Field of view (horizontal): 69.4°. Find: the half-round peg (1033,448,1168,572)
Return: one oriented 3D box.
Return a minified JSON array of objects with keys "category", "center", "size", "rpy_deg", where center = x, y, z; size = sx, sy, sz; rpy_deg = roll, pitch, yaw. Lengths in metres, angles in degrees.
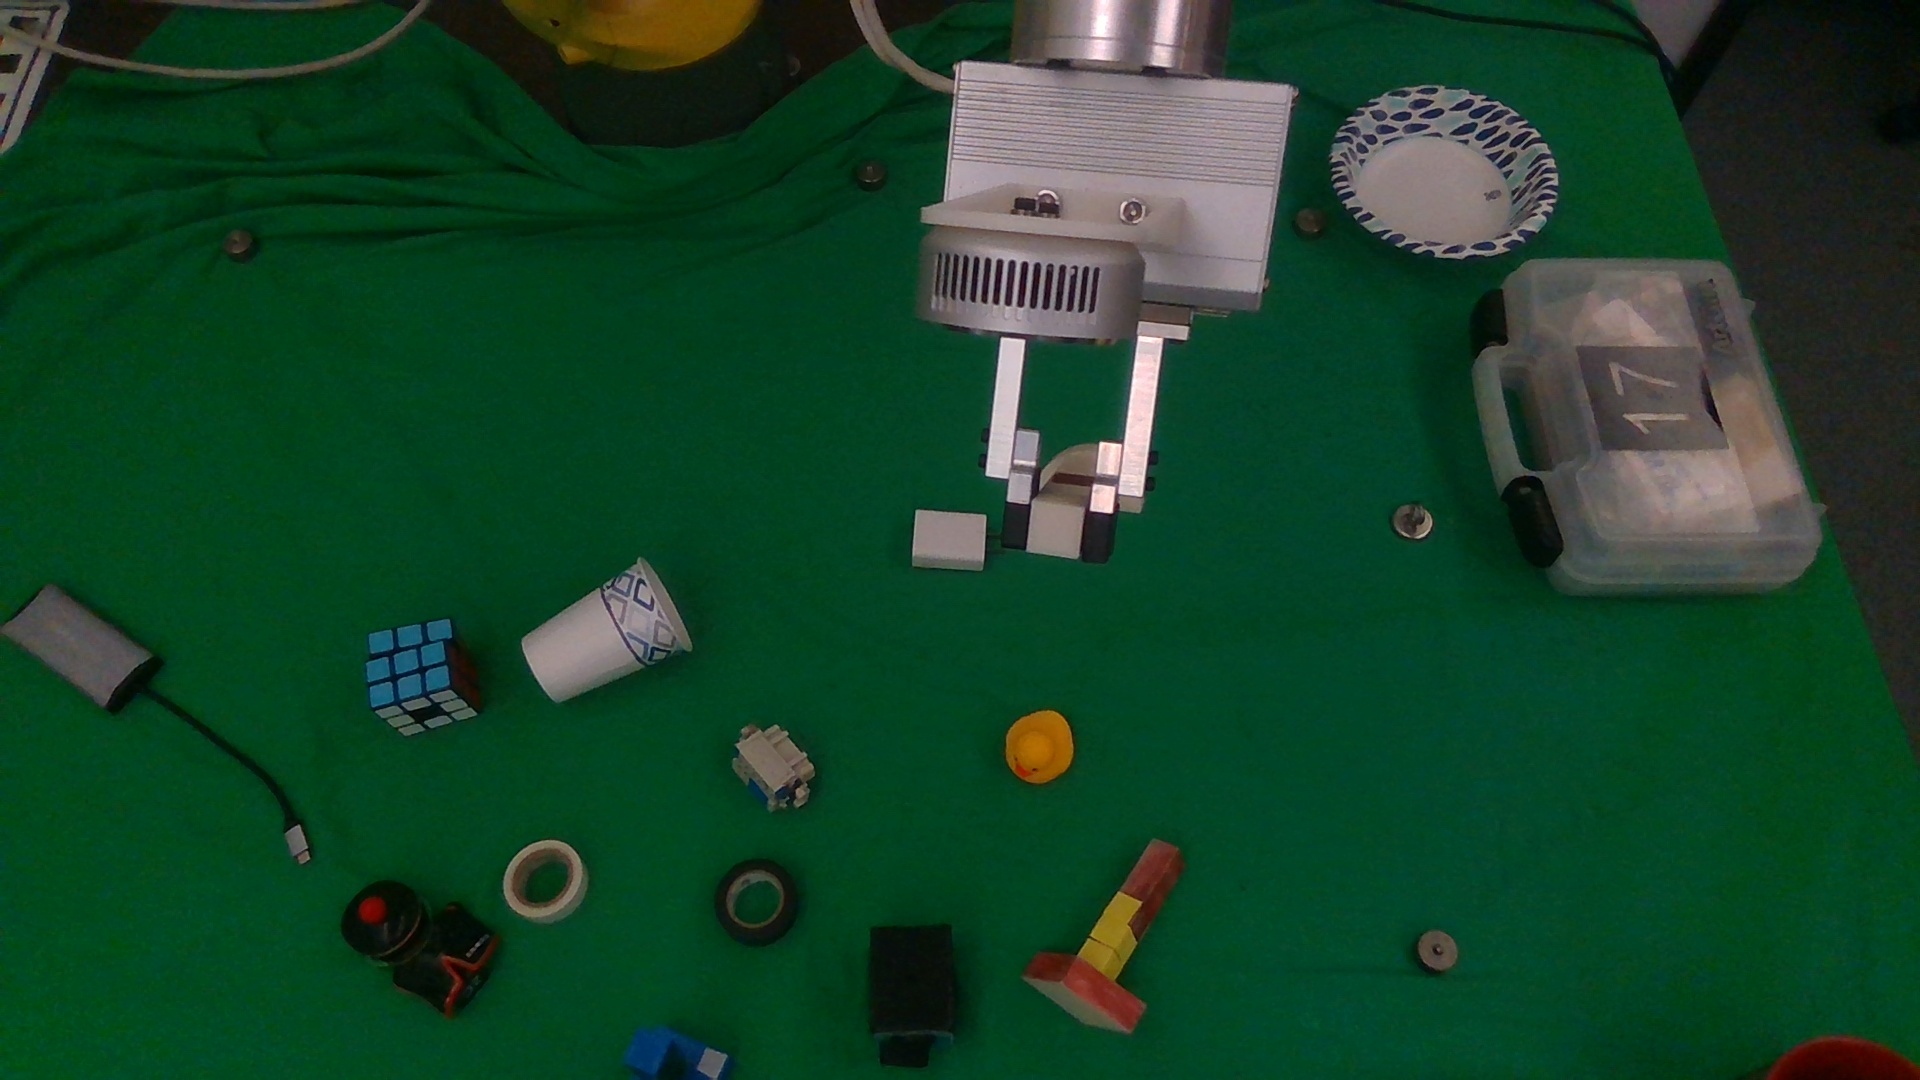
[{"category":"half-round peg","center":[0.053,-0.013,0.569],"size":[0.054,0.122,0.031],"rpy_deg":[8,105,12]}]

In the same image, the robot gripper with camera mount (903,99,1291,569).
[{"category":"robot gripper with camera mount","center":[0.034,-0.052,0.423],"size":[0.119,0.193,0.158],"rpy_deg":[8,105,9]}]
